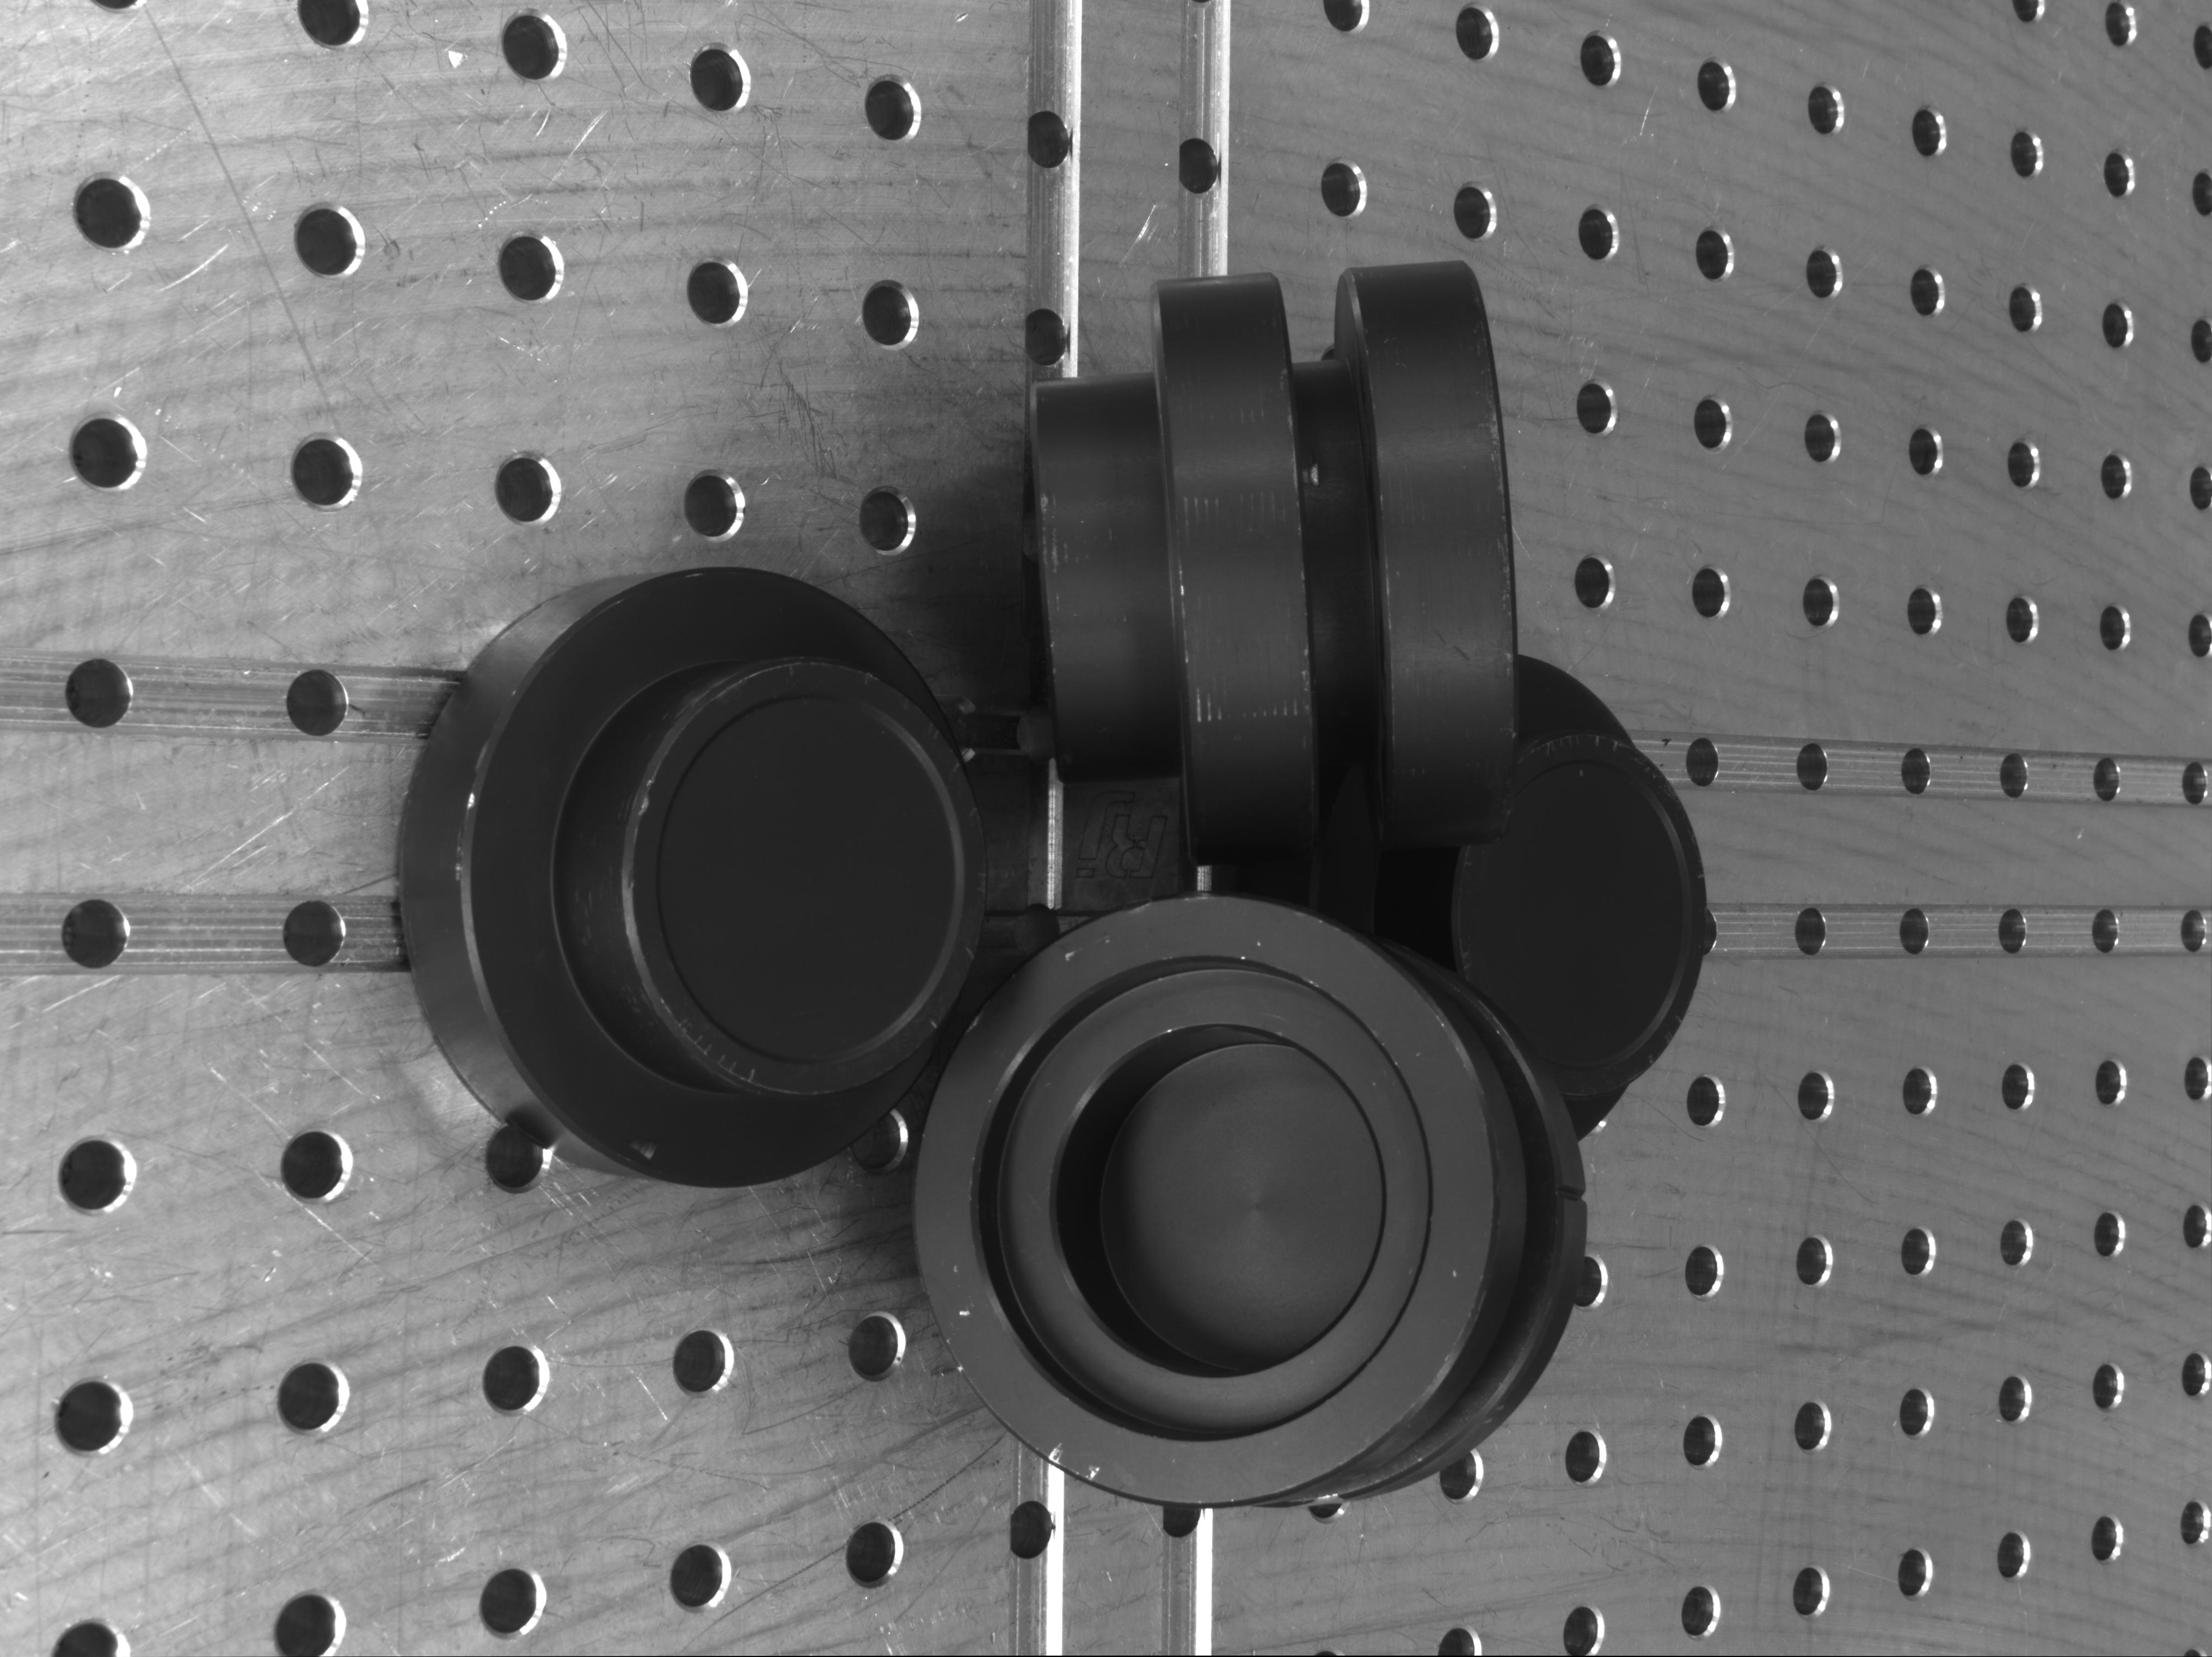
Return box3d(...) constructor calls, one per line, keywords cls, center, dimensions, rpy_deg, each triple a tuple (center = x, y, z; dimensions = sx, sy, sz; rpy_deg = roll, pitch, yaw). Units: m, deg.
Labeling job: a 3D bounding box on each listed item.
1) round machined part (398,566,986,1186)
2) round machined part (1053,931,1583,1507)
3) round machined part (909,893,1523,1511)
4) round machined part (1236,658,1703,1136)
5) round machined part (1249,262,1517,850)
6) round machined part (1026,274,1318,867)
box3d(cls="round machined part", center=(-0.058, 0.008, 0.579), dimensions=(0.098, 0.042, 0.098), rpy_deg=(0, 90, -40))
box3d(cls="round machined part", center=(0.034, 0.067, 0.632), dimensions=(0.042, 0.098, 0.098), rpy_deg=(26, 70, -70))
box3d(cls="round machined part", center=(0.021, 0.062, 0.603), dimensions=(0.042, 0.098, 0.098), rpy_deg=(25, 71, -70))
box3d(cls="round machined part", center=(0.074, 0.016, 0.690), dimensions=(0.098, 0.042, 0.098), rpy_deg=(0, 90, -40))
box3d(cls="round machined part", center=(0.042, -0.045, 0.618), dimensions=(0.042, 0.098, 0.098), rpy_deg=(-4, 94, 0))
box3d(cls="round machined part", center=(0.010, -0.042, 0.615), dimensions=(0.042, 0.098, 0.098), rpy_deg=(-4, 94, 0))
